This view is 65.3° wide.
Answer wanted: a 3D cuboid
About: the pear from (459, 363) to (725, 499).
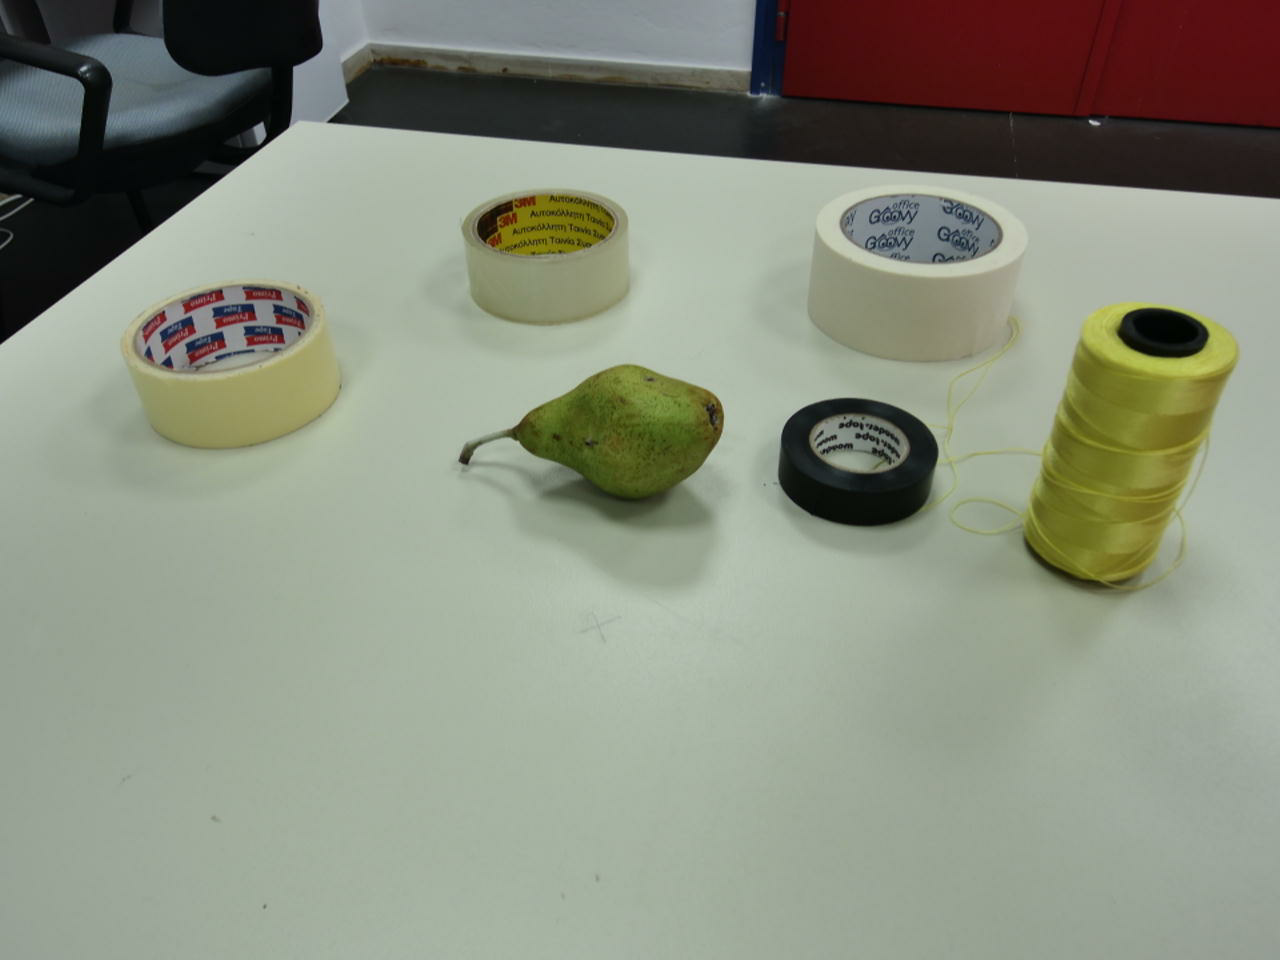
[{"bbox_3d":[-0.019,-0.026,0.426,0.111,0.056,0.056,18,42,23],"label":"pear"}]
